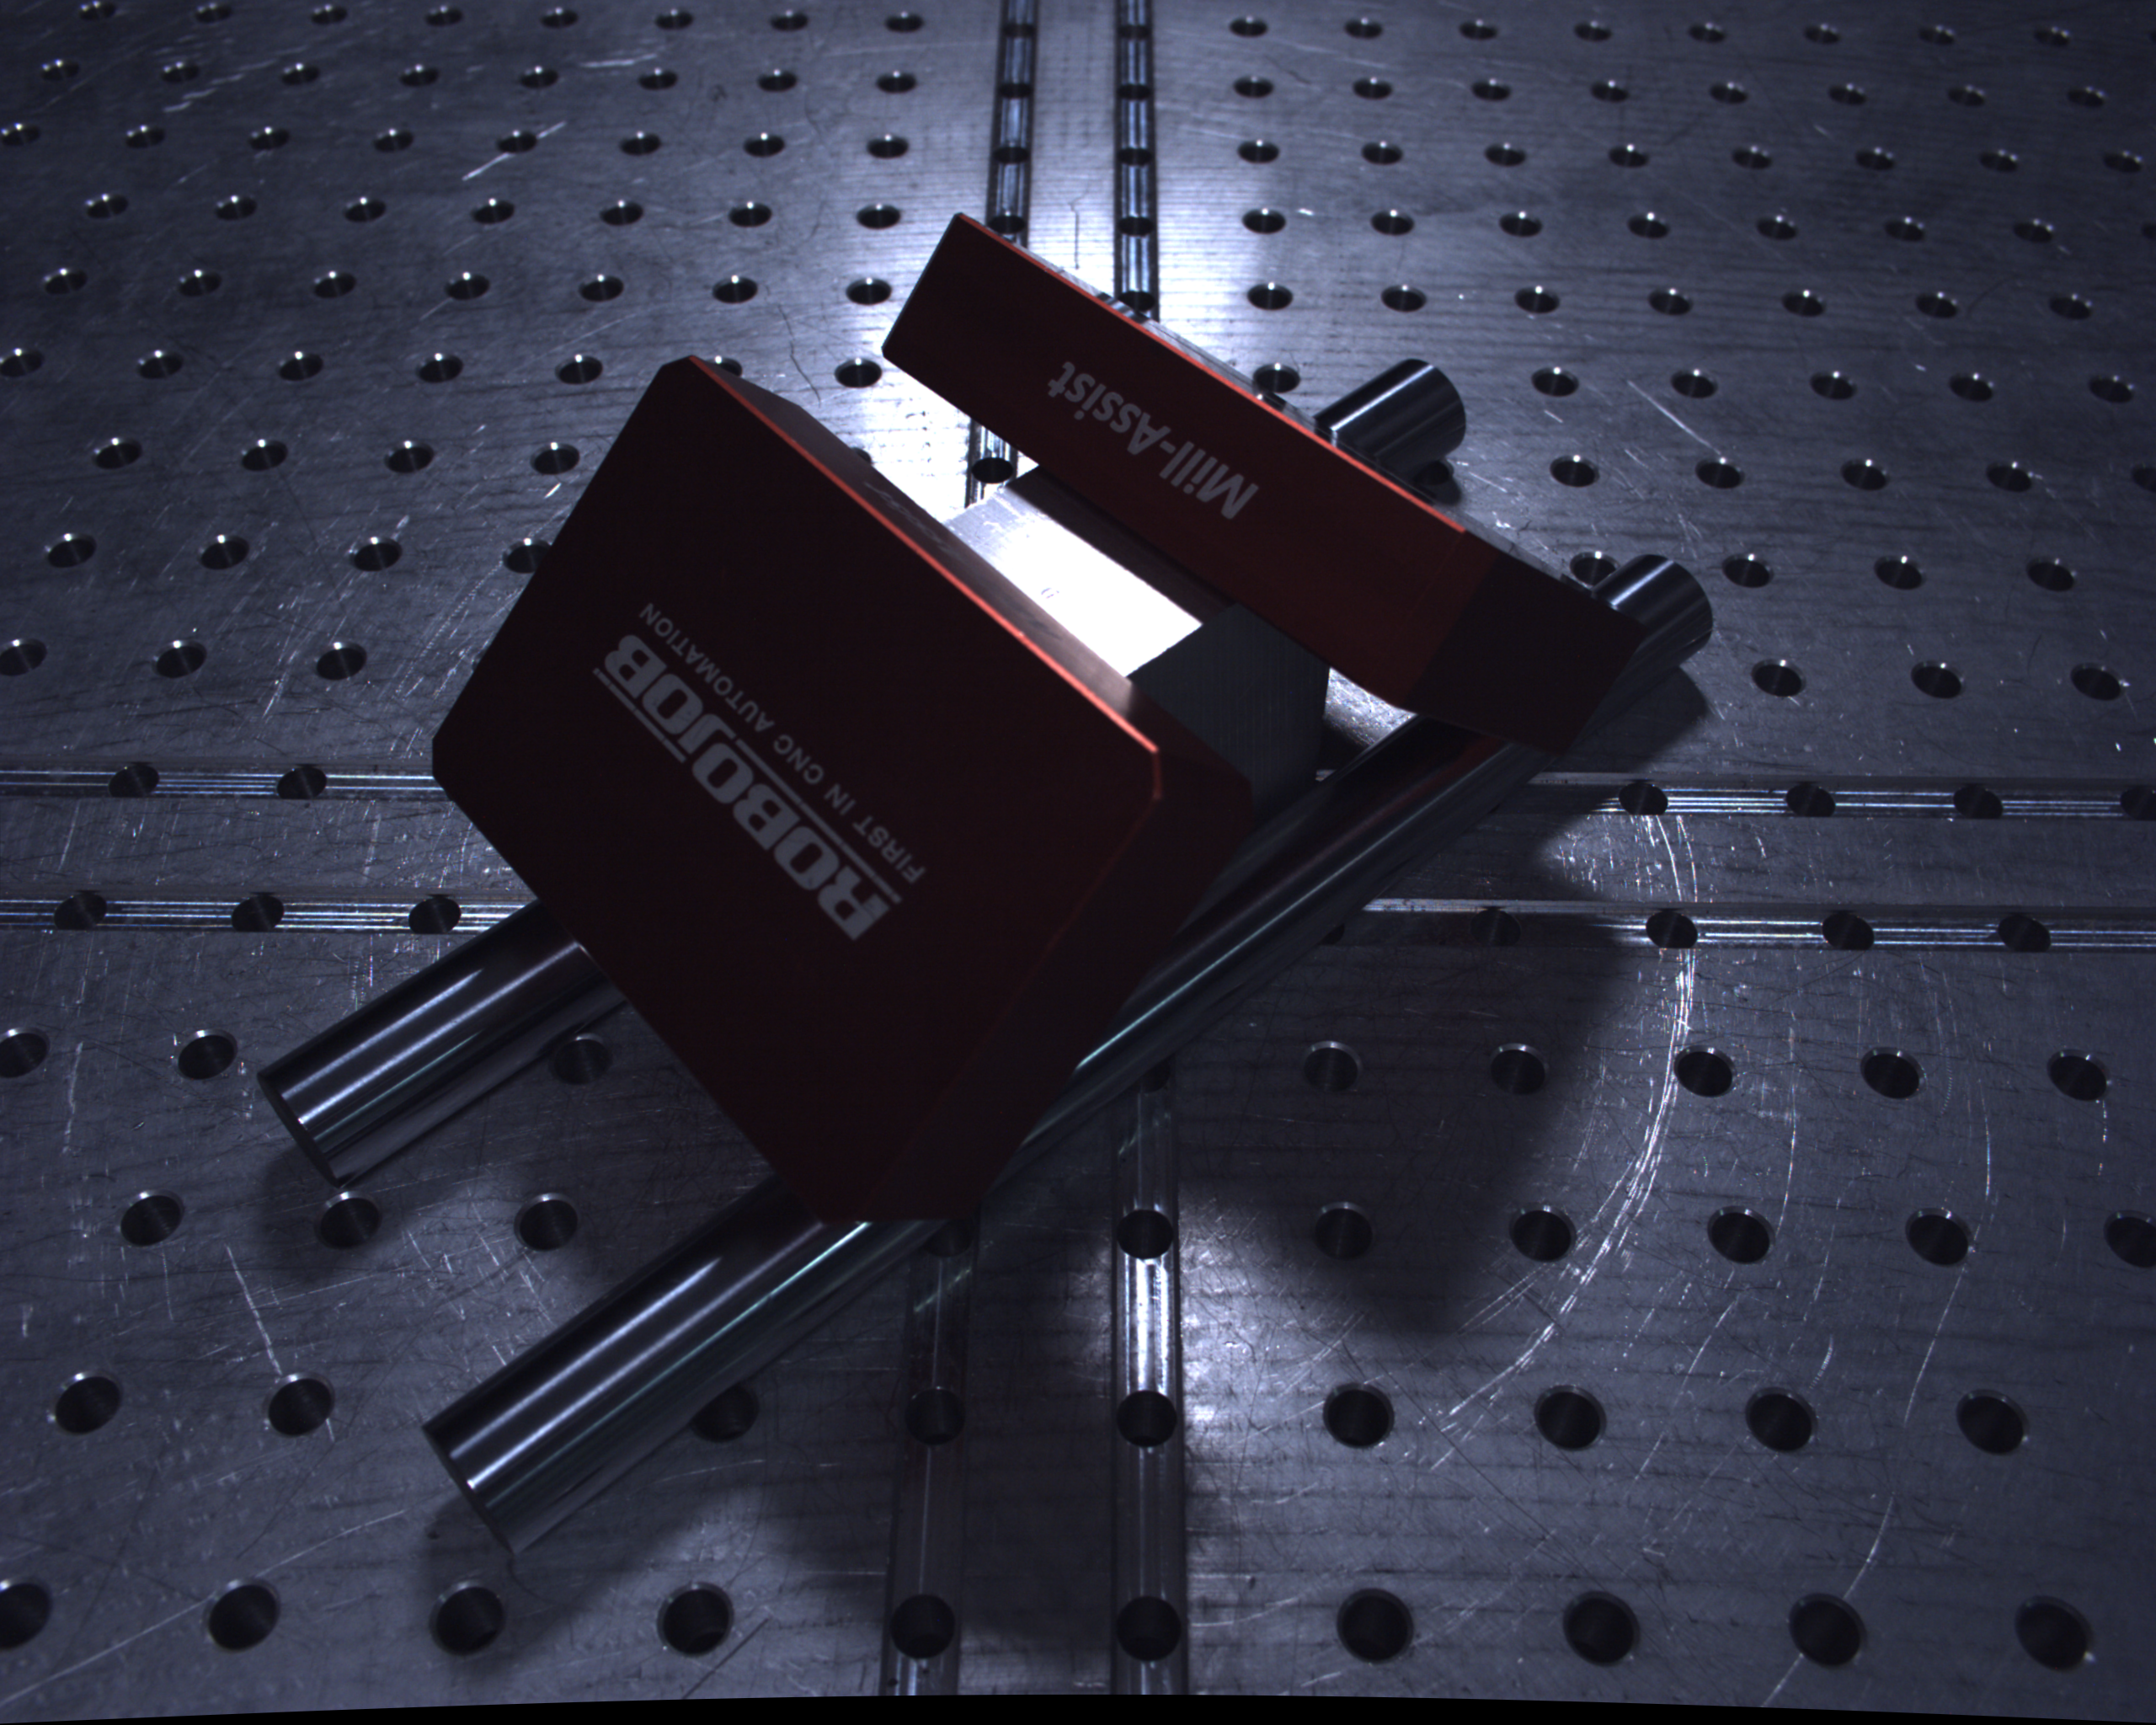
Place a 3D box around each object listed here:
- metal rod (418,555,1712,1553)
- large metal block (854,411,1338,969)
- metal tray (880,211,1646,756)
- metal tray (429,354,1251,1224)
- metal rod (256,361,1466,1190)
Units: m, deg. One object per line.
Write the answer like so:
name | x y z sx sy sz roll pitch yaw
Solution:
metal rod | 0.016 0.021 0.391 0.302 0.025 0.025 -34 58 -26
large metal block | 0.001 -0.028 0.394 0.080 0.080 0.050 -35 59 -26
metal tray | 0.035 -0.071 0.397 0.130 0.030 0.090 39 16 27
metal tray | -0.045 -0.014 0.349 0.130 0.030 0.090 43 105 29
metal rod | -0.027 -0.031 0.433 0.302 0.025 0.025 -35 59 -26
